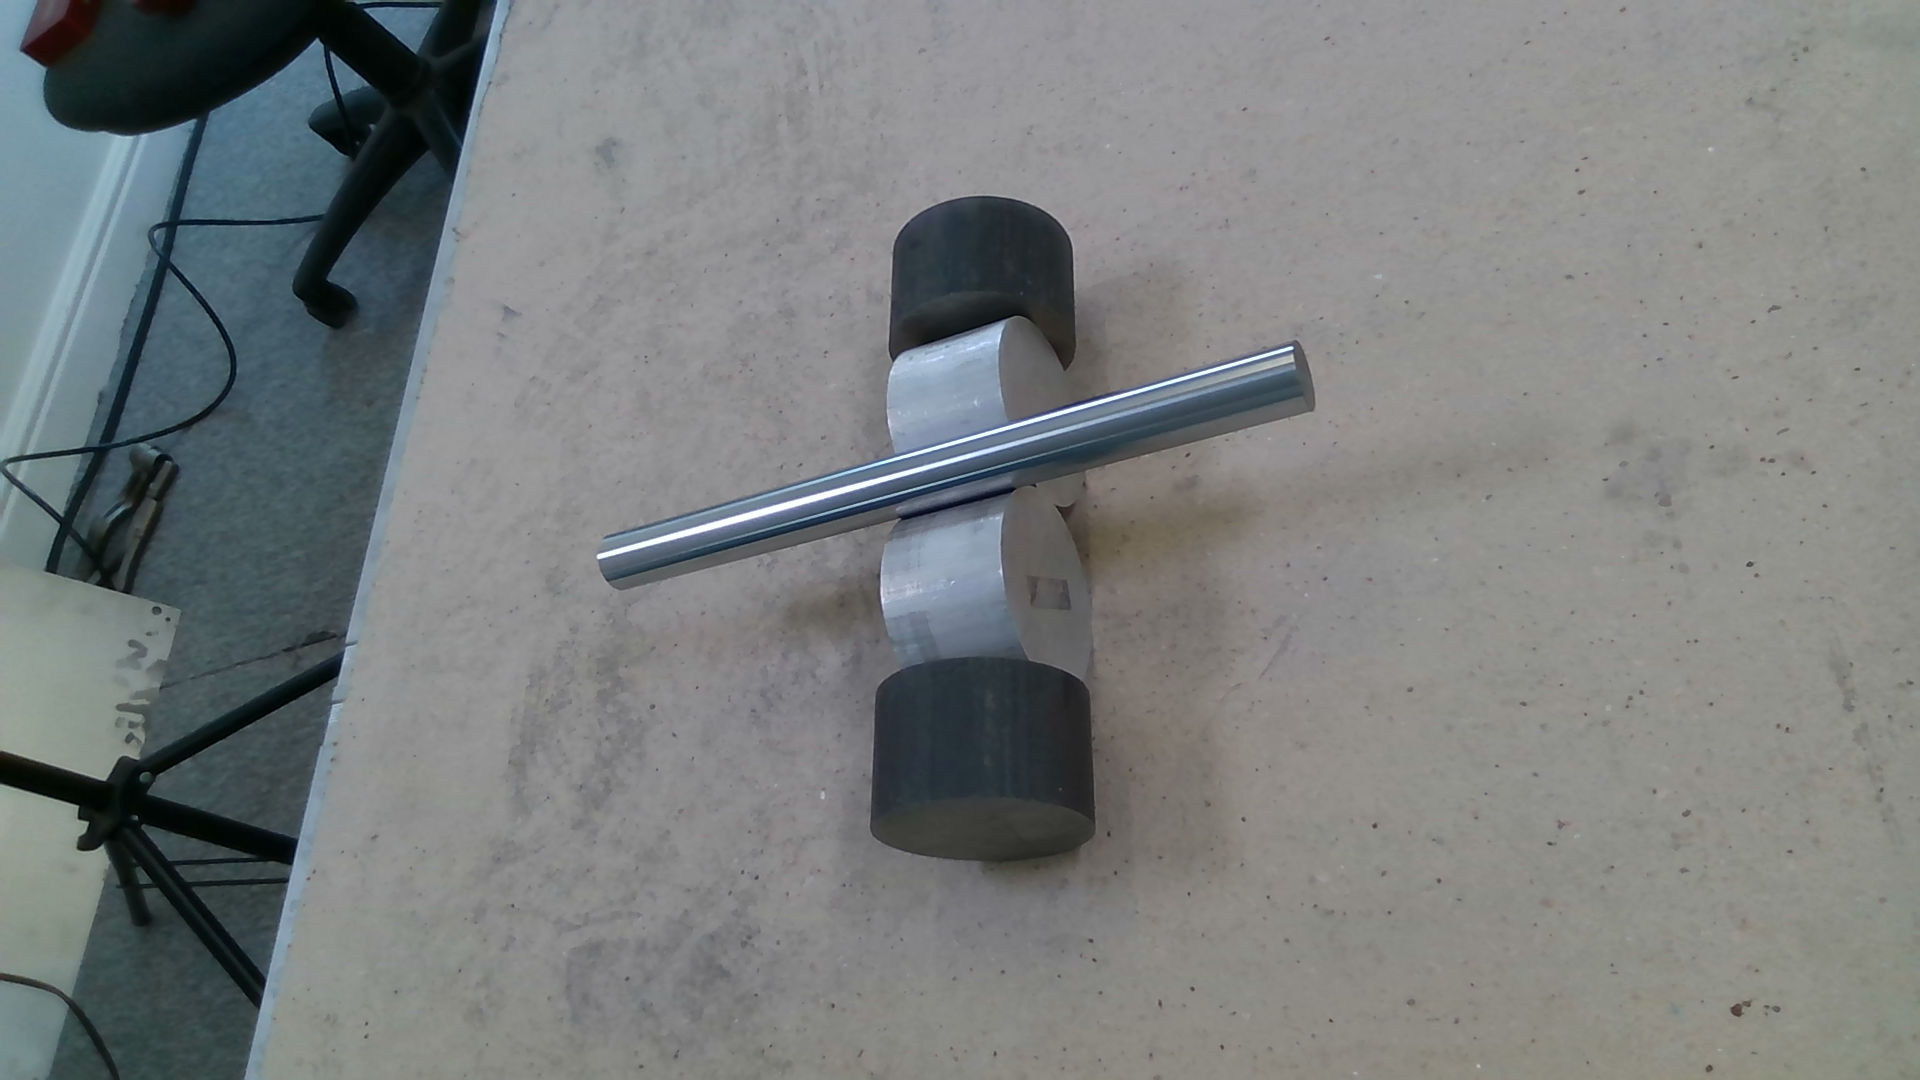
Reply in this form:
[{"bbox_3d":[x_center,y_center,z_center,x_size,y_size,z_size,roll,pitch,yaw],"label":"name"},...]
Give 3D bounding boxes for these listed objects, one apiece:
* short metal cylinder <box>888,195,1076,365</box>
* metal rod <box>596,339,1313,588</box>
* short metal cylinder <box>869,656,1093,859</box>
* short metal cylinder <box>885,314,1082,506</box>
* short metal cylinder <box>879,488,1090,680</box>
[{"bbox_3d":[0.010,-0.104,0.600,0.080,0.080,0.050,-14,59,25],"label":"short metal cylinder"},{"bbox_3d":[-0.016,-0.024,0.529,0.300,0.025,0.025,-14,59,25],"label":"metal rod"},{"bbox_3d":[0.008,0.081,0.503,0.080,0.080,0.050,-14,59,25],"label":"short metal cylinder"},{"bbox_3d":[0.011,-0.047,0.569,0.050,0.080,0.080,-14,59,25],"label":"short metal cylinder"},{"bbox_3d":[0.011,0.022,0.531,0.050,0.080,0.080,-14,59,25],"label":"short metal cylinder"}]
